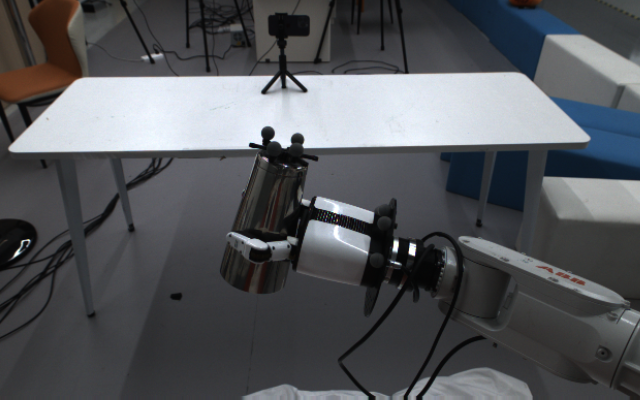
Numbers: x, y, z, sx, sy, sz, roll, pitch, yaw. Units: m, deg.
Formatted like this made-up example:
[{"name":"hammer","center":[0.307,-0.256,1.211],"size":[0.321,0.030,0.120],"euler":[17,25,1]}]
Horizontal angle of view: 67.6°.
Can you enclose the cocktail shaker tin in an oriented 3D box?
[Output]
[{"name":"cocktail shaker tin","center":[-0.067,0.025,0.630],"size":[0.093,0.170,0.093],"euler":[15,20,-5]}]
